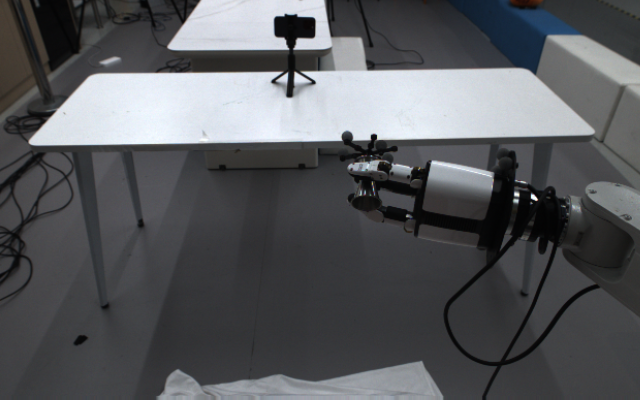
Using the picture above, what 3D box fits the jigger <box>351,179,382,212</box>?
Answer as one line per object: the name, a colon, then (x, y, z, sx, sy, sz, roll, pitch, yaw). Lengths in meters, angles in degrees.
jigger: (0.065, -0.027, 0.685, 0.043, 0.043, 0.071, 4, 61, 3)
